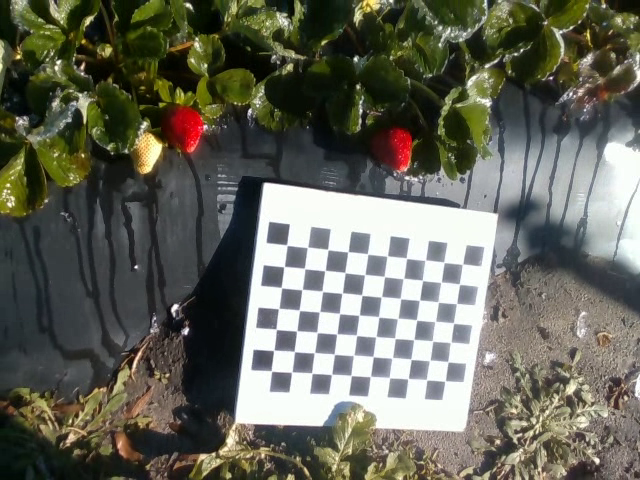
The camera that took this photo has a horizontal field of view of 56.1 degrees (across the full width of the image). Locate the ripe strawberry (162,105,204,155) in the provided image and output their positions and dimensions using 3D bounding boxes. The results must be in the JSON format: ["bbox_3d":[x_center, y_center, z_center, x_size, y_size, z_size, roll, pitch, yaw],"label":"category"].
[{"bbox_3d":[-0.135,-0.106,0.609,0.043,0.061,0.046,-10,-33,-14],"label":"ripe strawberry"}]

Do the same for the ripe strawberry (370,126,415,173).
[{"bbox_3d":[0.087,-0.099,0.662,0.049,0.061,0.044,-2,-26,-15],"label":"ripe strawberry"}]
